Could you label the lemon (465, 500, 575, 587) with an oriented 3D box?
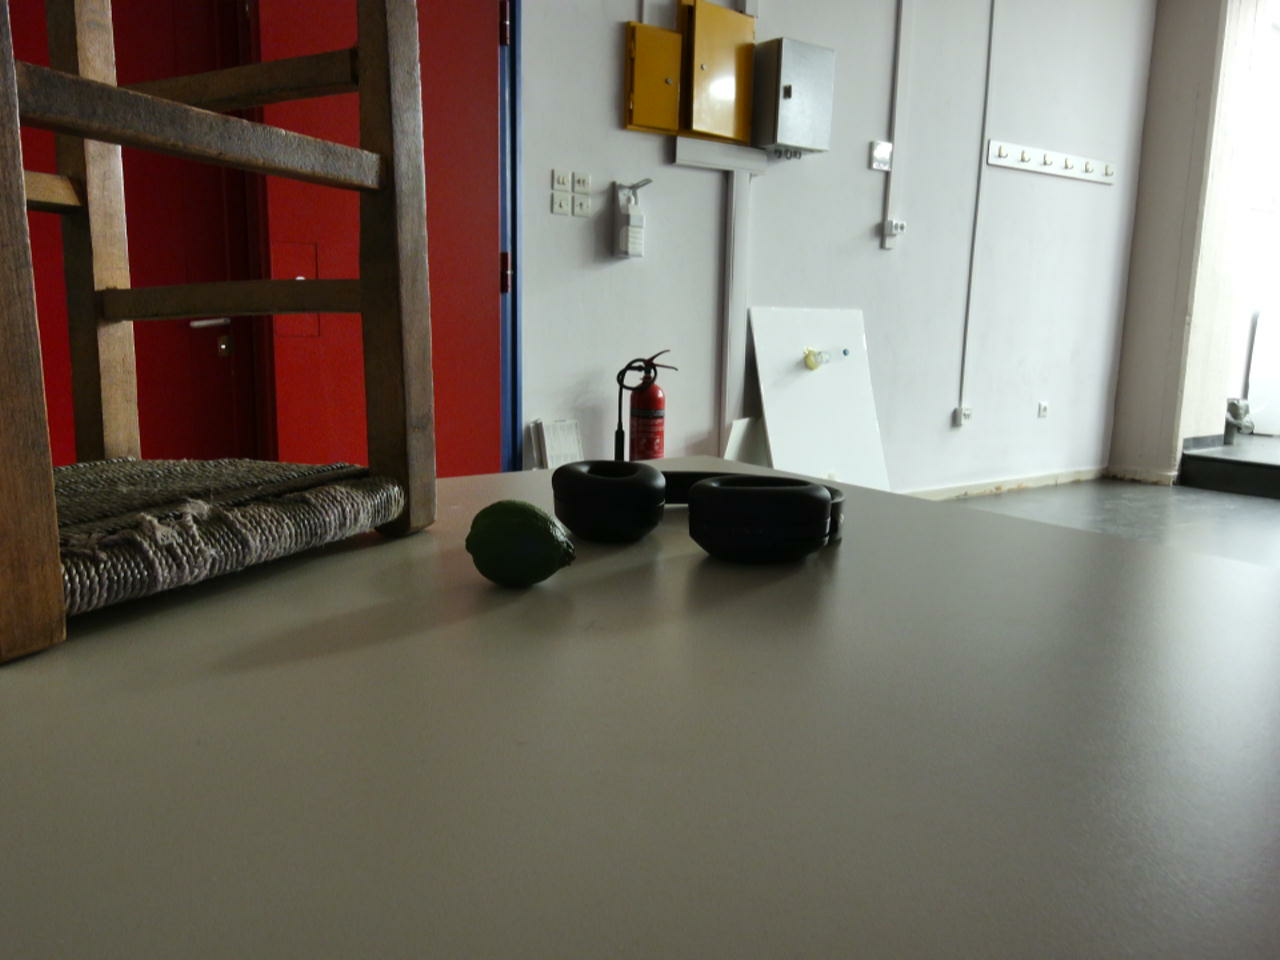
[{"bbox_3d":[-0.073,0.037,0.590,0.057,0.051,0.054,-6,10,-39],"label":"lemon"}]
